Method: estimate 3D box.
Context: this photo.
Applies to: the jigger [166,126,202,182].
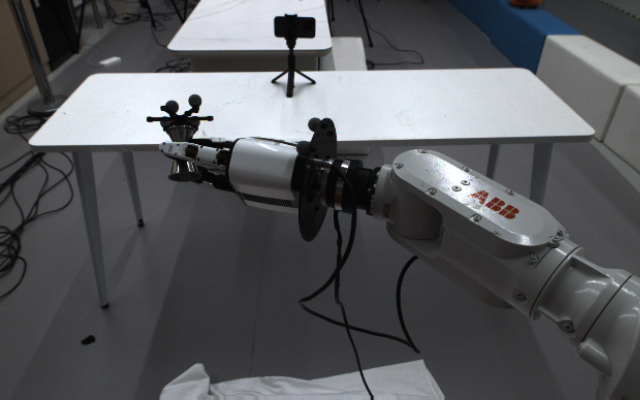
[{"bbox_3d":[-0.187,-0.062,0.663,0.043,0.043,0.071,-6,78,-11],"label":"jigger"}]
